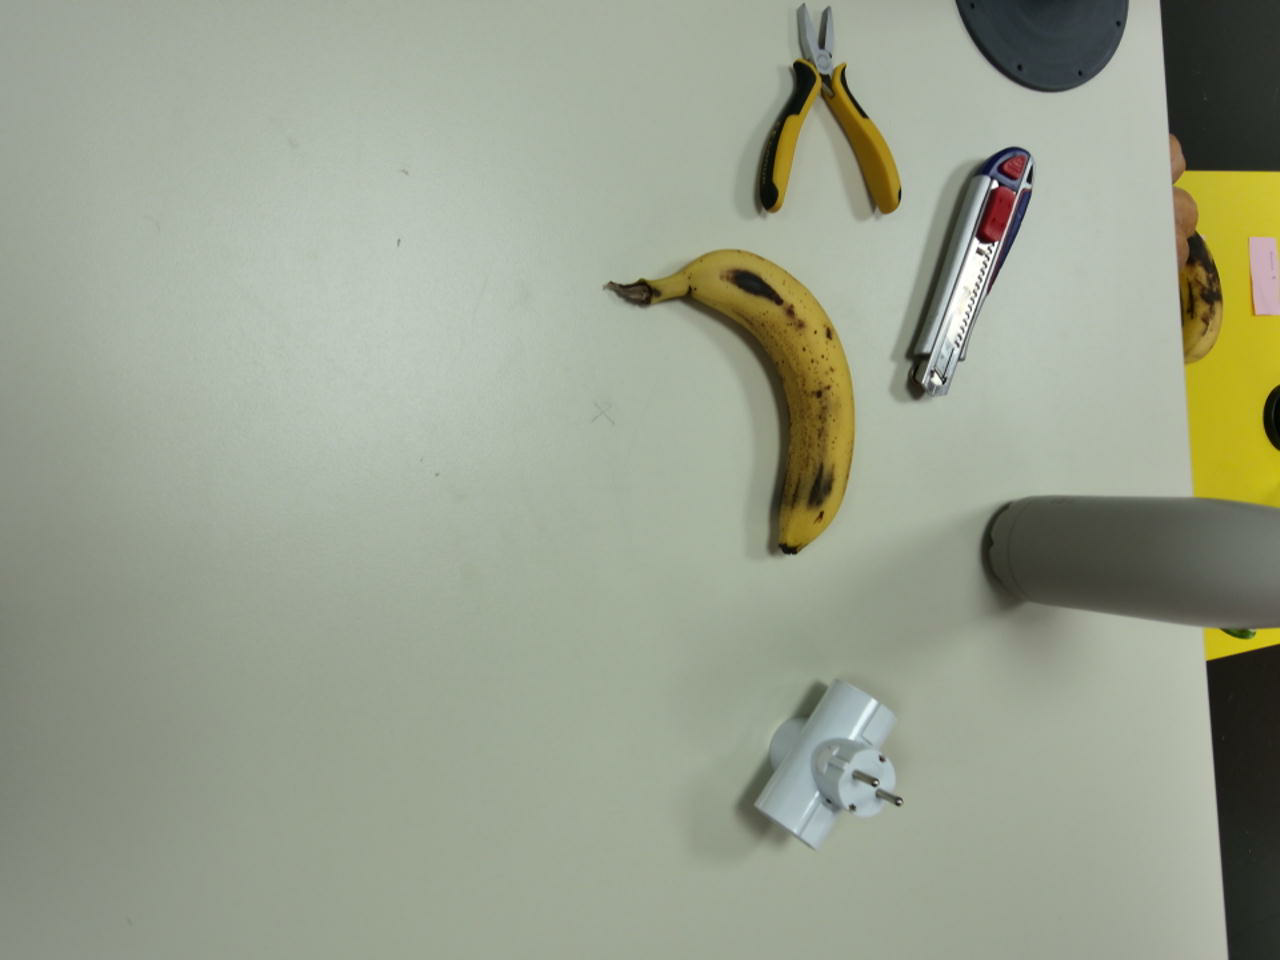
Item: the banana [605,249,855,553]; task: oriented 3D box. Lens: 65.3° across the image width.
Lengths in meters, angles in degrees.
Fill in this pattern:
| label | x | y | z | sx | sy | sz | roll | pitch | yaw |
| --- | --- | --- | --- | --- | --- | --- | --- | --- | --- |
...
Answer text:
| label | x | y | z | sx | sy | sz | roll | pitch | yaw |
| --- | --- | --- | --- | --- | --- | --- | --- | --- | --- |
| banana | 0.078 | -0.057 | 0.588 | 0.097 | 0.038 | 0.186 | -36 | 103 | -18 |
